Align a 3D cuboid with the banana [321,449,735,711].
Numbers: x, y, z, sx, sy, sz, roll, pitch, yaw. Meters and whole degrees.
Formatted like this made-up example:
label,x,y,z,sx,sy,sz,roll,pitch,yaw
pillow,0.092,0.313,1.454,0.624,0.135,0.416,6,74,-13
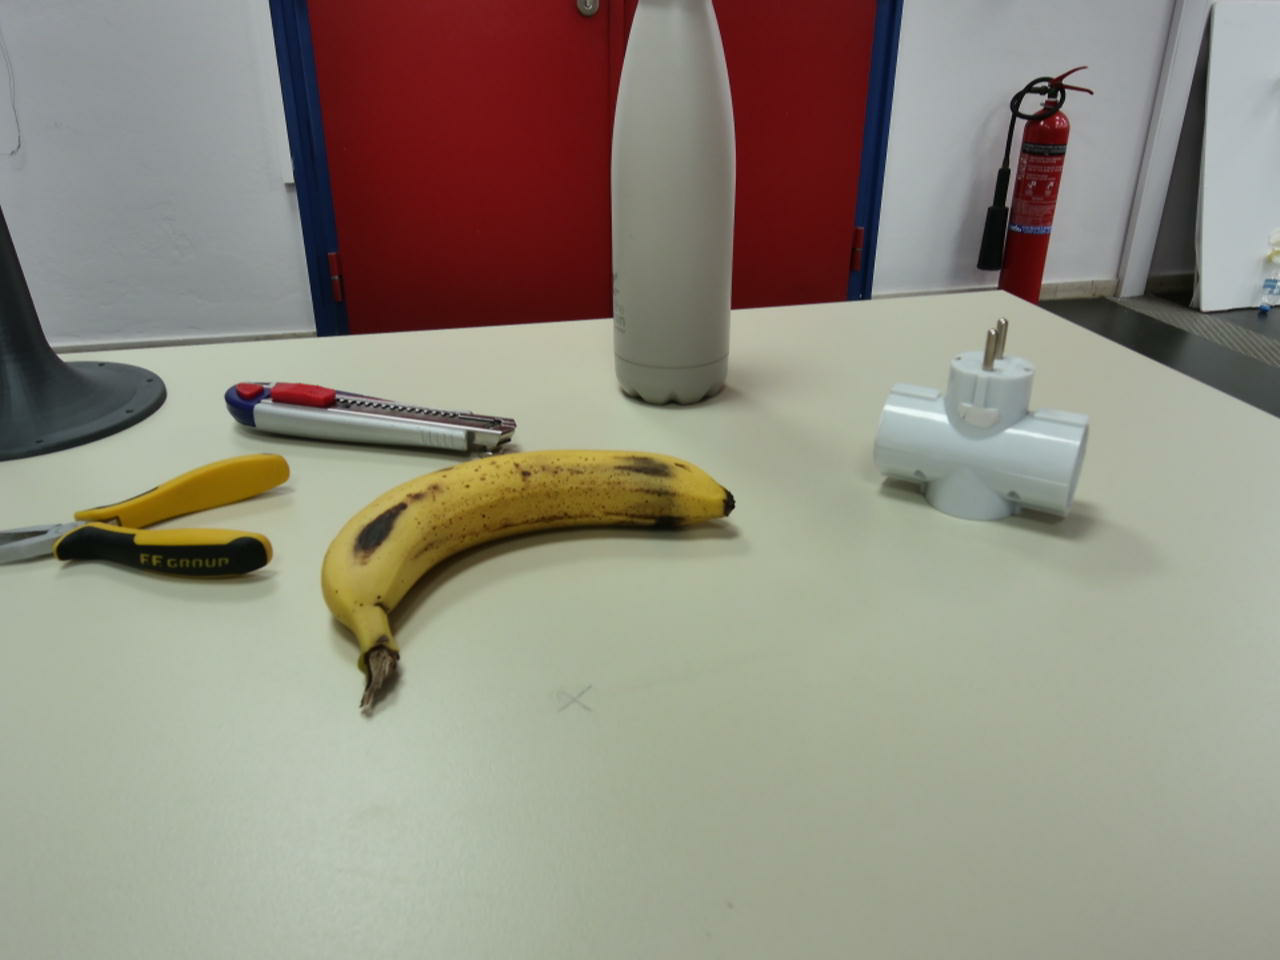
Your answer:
label,x,y,z,sx,sy,sz,roll,pitch,yaw
banana,-0.054,0.020,0.432,0.186,0.038,0.097,-20,31,-37
